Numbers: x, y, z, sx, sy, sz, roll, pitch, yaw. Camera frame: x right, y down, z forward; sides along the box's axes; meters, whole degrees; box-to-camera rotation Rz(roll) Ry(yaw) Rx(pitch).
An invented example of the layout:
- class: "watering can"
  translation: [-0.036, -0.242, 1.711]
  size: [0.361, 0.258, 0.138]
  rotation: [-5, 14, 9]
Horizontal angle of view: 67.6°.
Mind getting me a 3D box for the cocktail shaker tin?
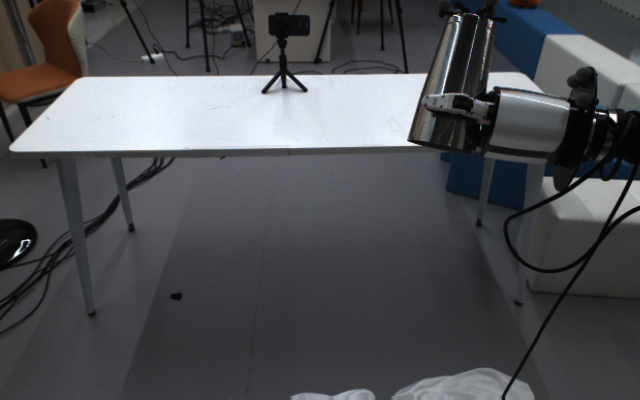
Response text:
- class: "cocktail shaker tin"
  translation: [0.183, -0.155, 0.652]
  size: [0.093, 0.170, 0.093]
  rotation: [13, 4, -1]
